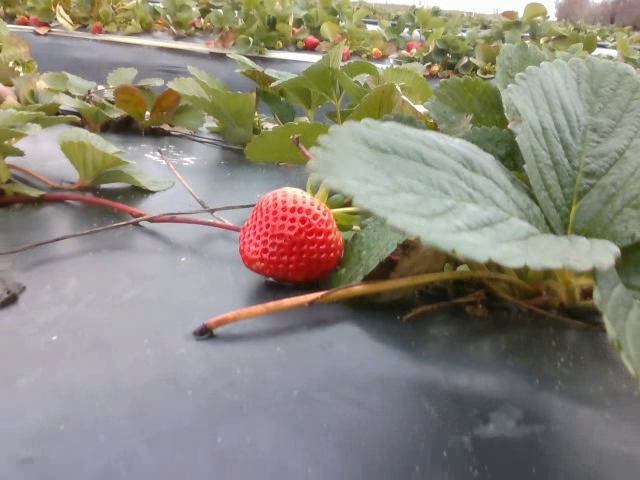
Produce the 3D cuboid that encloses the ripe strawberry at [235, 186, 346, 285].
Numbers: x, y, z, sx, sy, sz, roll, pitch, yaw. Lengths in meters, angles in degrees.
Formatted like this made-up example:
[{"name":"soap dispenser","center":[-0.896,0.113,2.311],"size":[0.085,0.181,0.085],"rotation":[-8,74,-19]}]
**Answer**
[{"name":"ripe strawberry","center":[-0.022,-0.006,0.316],"size":[0.062,0.065,0.050],"rotation":[28,-28,24]}]
